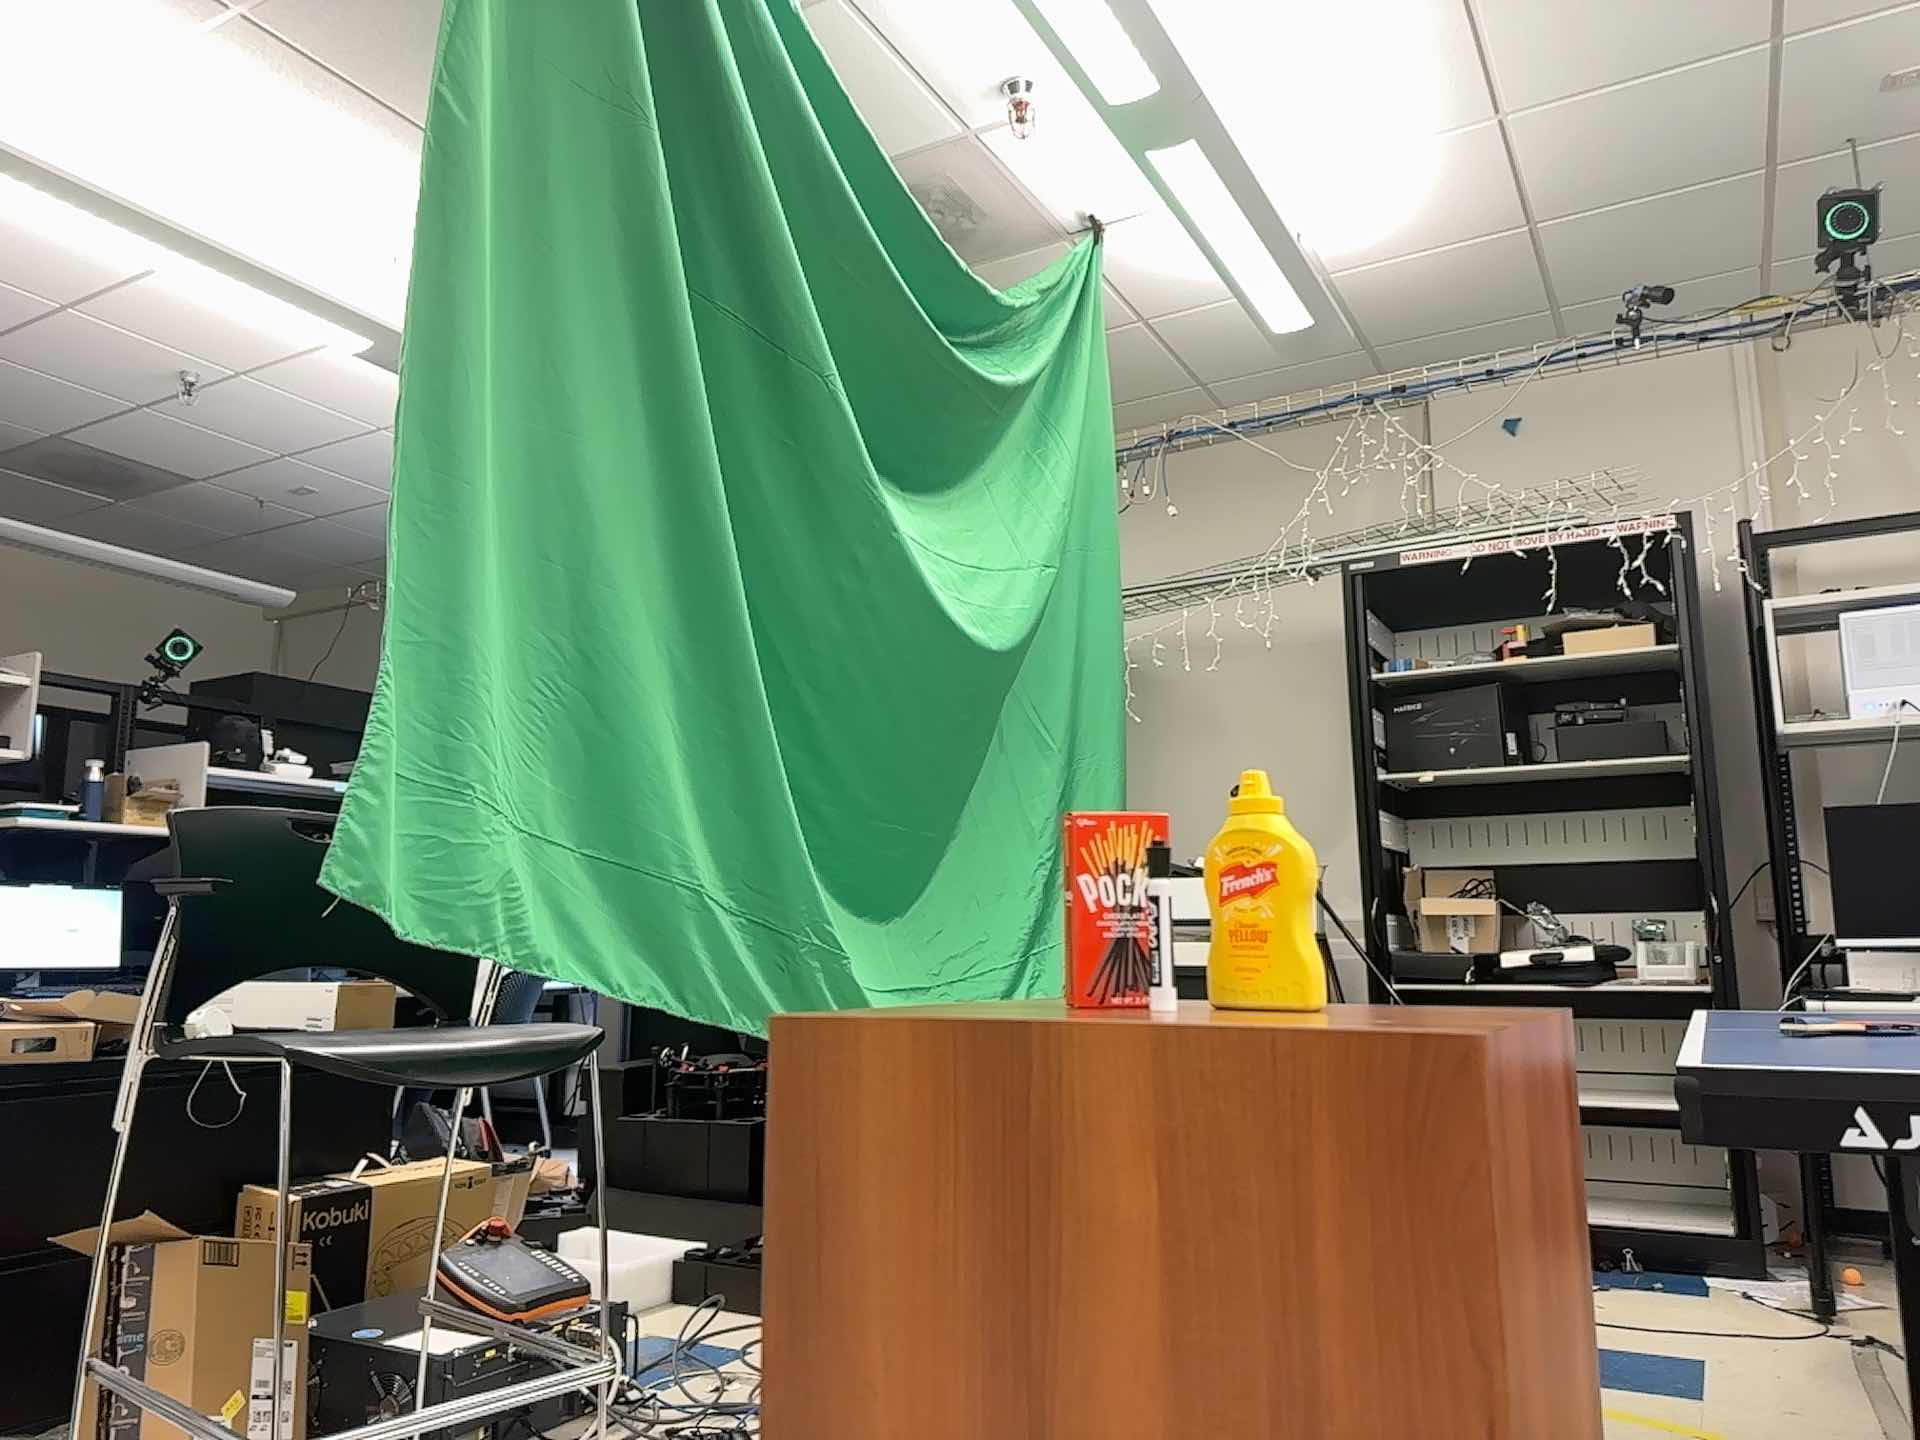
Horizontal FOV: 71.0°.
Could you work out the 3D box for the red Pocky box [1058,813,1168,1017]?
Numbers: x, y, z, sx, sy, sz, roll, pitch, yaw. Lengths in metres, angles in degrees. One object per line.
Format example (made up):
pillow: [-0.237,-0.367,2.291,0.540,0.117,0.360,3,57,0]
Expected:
red Pocky box: [0.121,0.150,1.041,0.083,0.155,0.028,-2,-7,-7]

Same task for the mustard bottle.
mustard bottle: [0.228,0.127,1.014,0.054,0.184,0.092,5,-11,-41]

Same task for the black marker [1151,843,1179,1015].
black marker: [0.147,0.149,0.967,0.020,0.121,0.020,1,-11,0]
